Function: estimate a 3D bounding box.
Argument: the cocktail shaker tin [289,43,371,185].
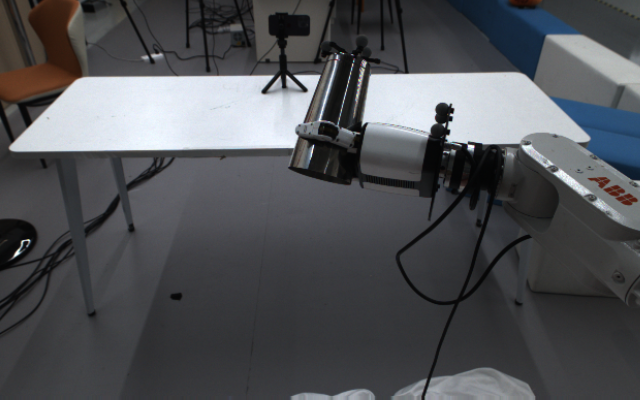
[{"bbox_3d":[0.020,-0.116,0.688,0.093,0.170,0.093,15,-4,1],"label":"cocktail shaker tin"}]
